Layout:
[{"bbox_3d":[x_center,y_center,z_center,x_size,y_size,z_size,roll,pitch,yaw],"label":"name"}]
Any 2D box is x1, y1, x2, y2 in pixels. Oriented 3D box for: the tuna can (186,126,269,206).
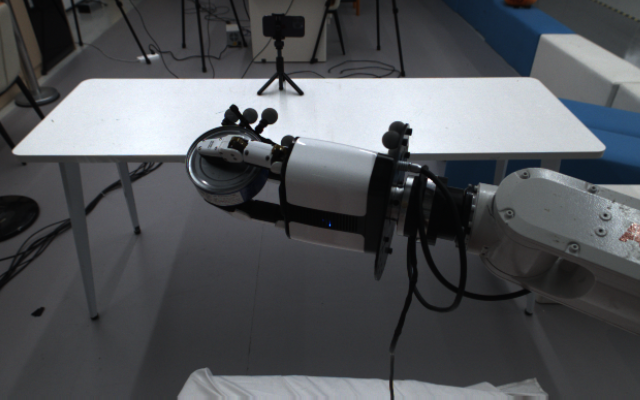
[{"bbox_3d":[-0.099,-0.038,0.529,0.085,0.034,0.085,-2,59,3],"label":"tuna can"}]
